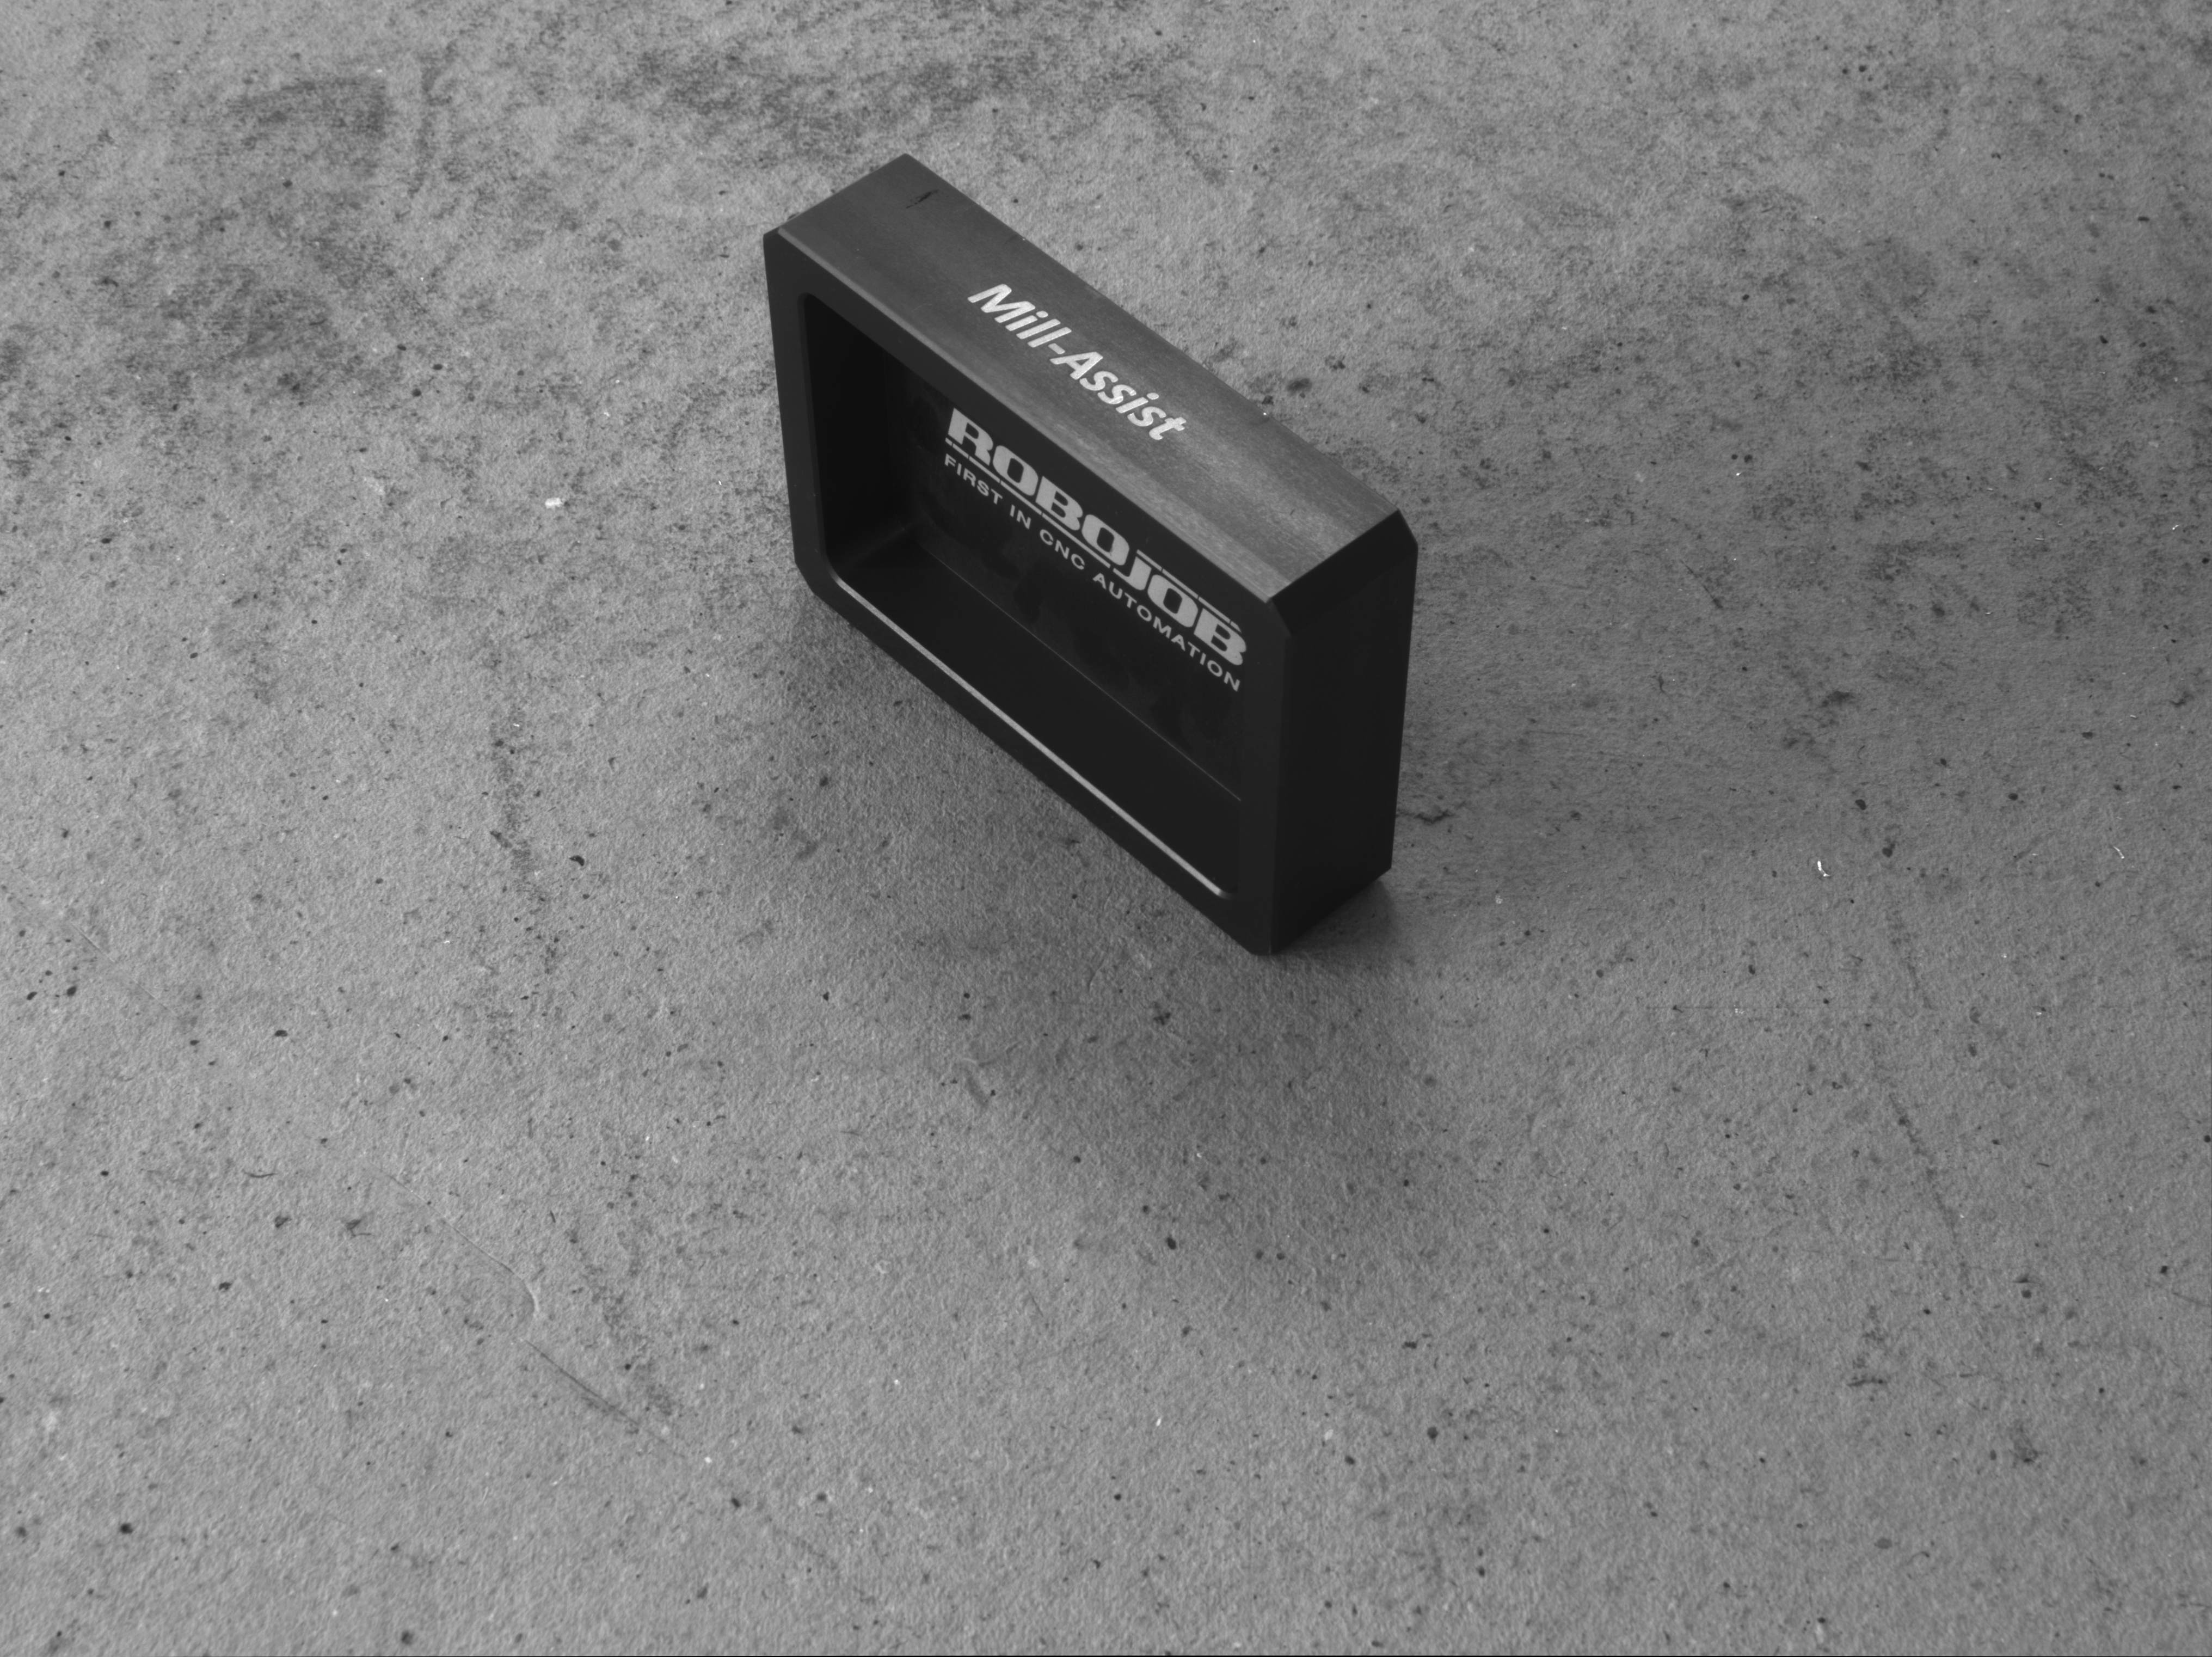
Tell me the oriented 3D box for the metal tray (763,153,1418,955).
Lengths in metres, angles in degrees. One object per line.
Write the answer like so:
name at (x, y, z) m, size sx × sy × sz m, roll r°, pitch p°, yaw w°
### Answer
metal tray at (-0.005, -0.048, 0.640) m, size 0.030 × 0.090 × 0.130 m, roll -36°, pitch 59°, yaw -26°
